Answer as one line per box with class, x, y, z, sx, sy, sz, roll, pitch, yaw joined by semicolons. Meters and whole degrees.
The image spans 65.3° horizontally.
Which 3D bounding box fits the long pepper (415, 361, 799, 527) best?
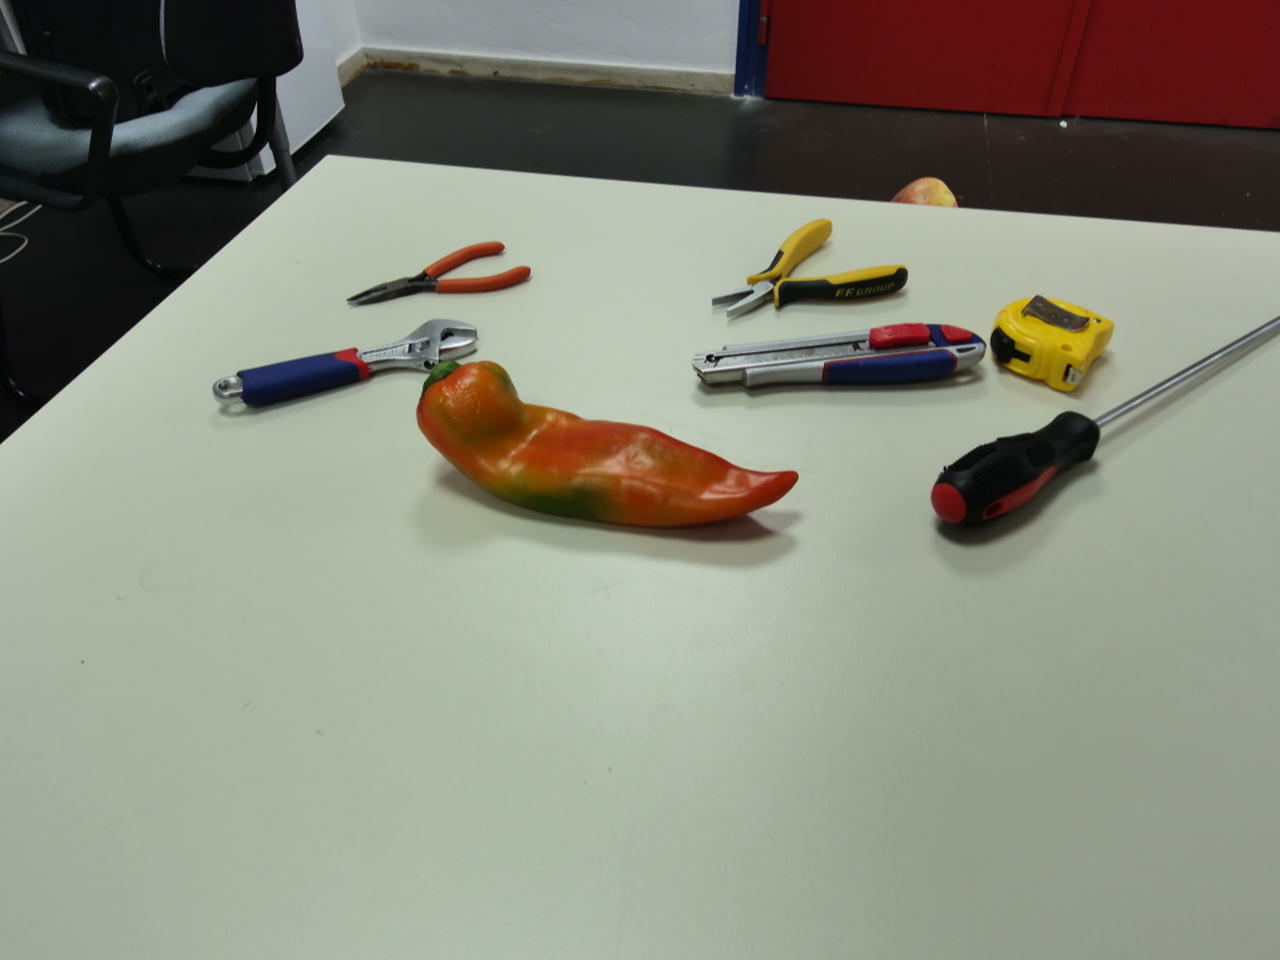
long pepper;-0.020;-0.019;0.510;0.199;0.065;0.066;12;40;14
